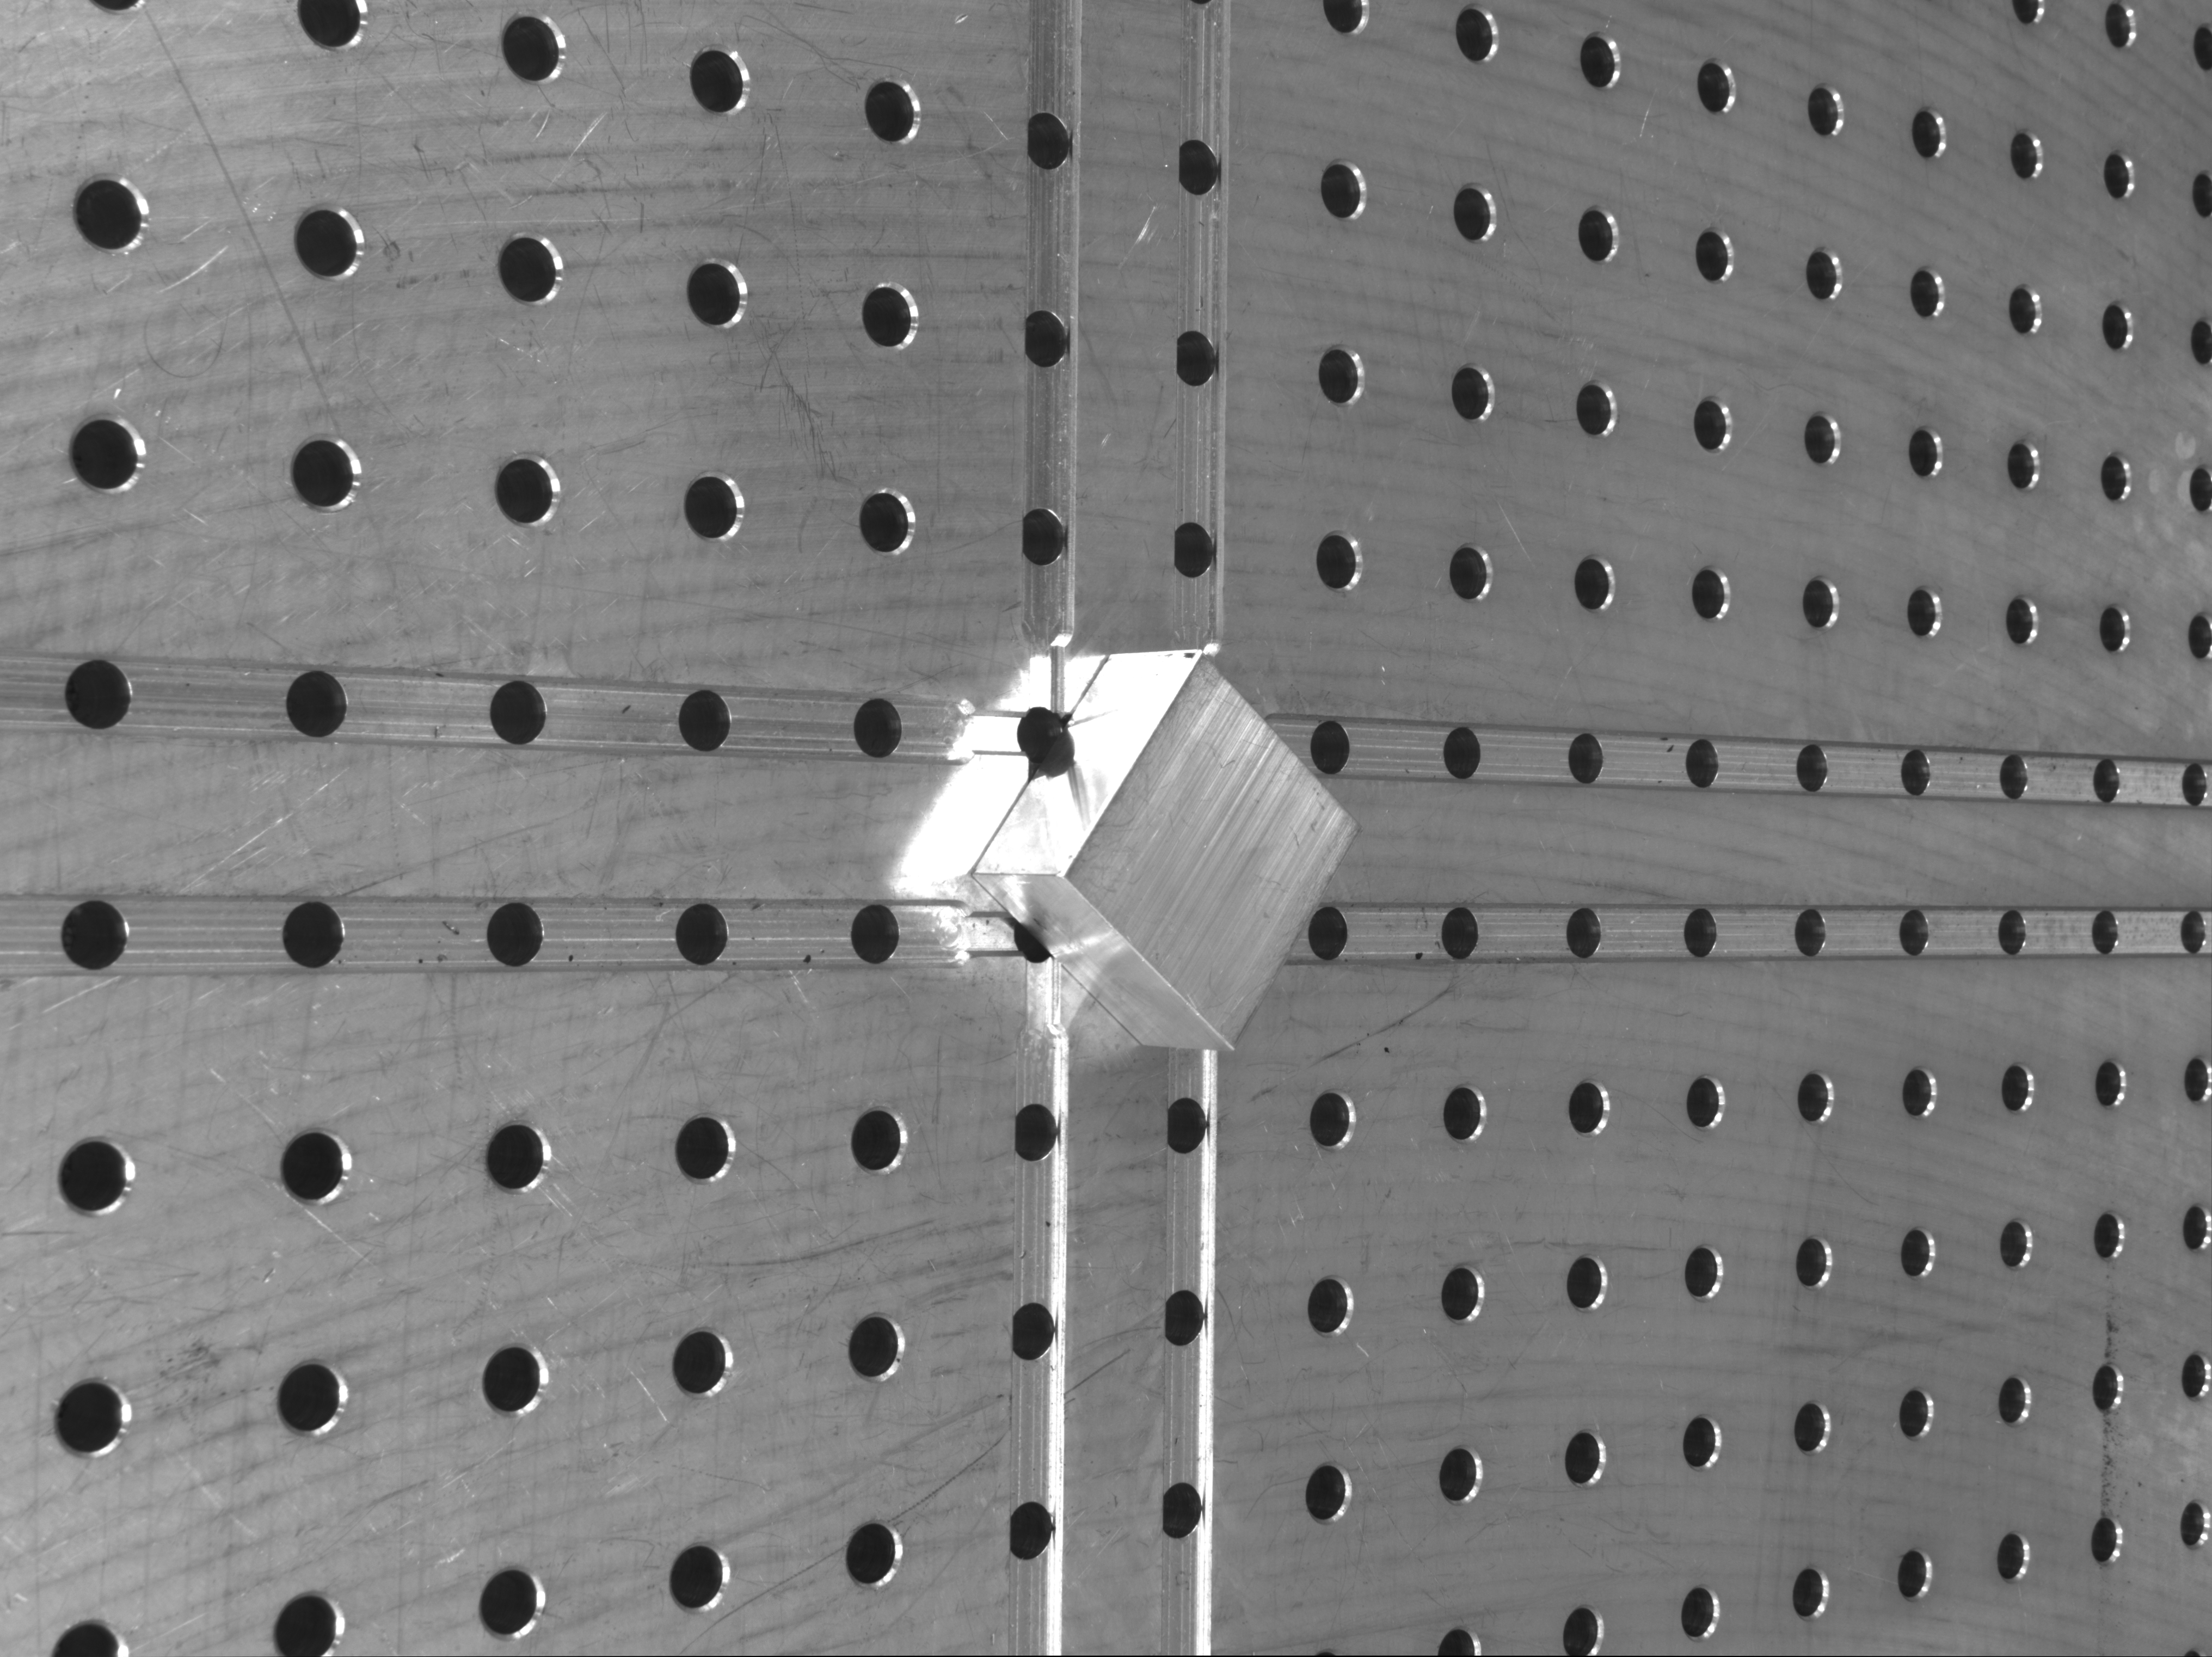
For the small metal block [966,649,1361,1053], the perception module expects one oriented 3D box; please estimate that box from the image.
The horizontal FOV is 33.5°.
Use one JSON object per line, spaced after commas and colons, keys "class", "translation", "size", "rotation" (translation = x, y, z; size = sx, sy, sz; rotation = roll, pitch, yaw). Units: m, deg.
{"class": "small metal block", "translation": [0.011, 0.004, 0.648], "size": [0.050, 0.025, 0.050], "rotation": [46, 63, -30]}
